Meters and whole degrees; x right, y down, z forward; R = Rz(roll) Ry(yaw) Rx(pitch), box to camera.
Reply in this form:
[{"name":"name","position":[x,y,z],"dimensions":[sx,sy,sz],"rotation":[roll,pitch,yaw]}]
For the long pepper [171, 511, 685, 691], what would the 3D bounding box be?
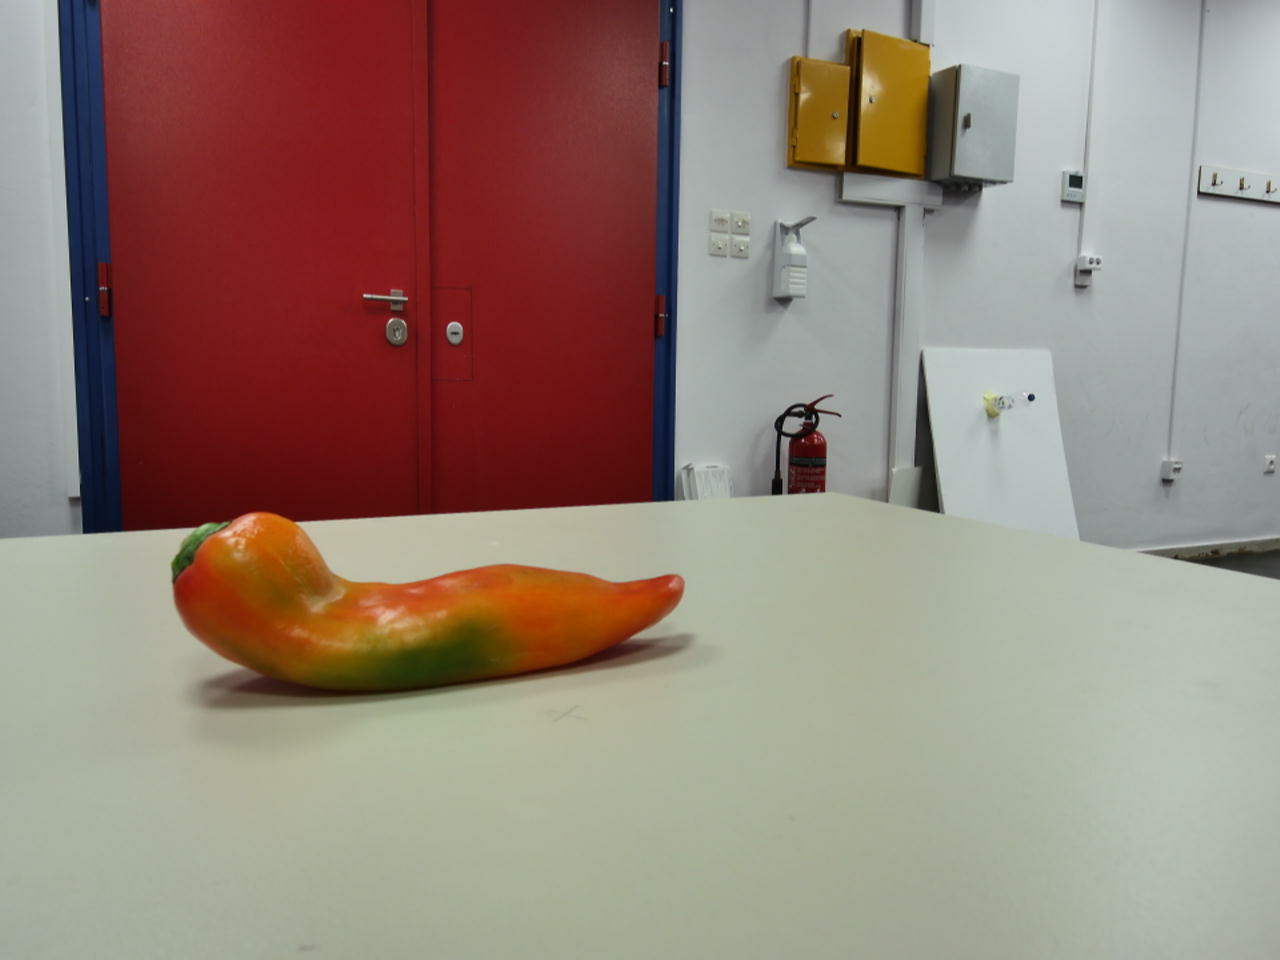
[{"name":"long pepper","position":[-0.071,0.042,0.386],"dimensions":[0.199,0.065,0.066],"rotation":[-2,4,-21]}]
